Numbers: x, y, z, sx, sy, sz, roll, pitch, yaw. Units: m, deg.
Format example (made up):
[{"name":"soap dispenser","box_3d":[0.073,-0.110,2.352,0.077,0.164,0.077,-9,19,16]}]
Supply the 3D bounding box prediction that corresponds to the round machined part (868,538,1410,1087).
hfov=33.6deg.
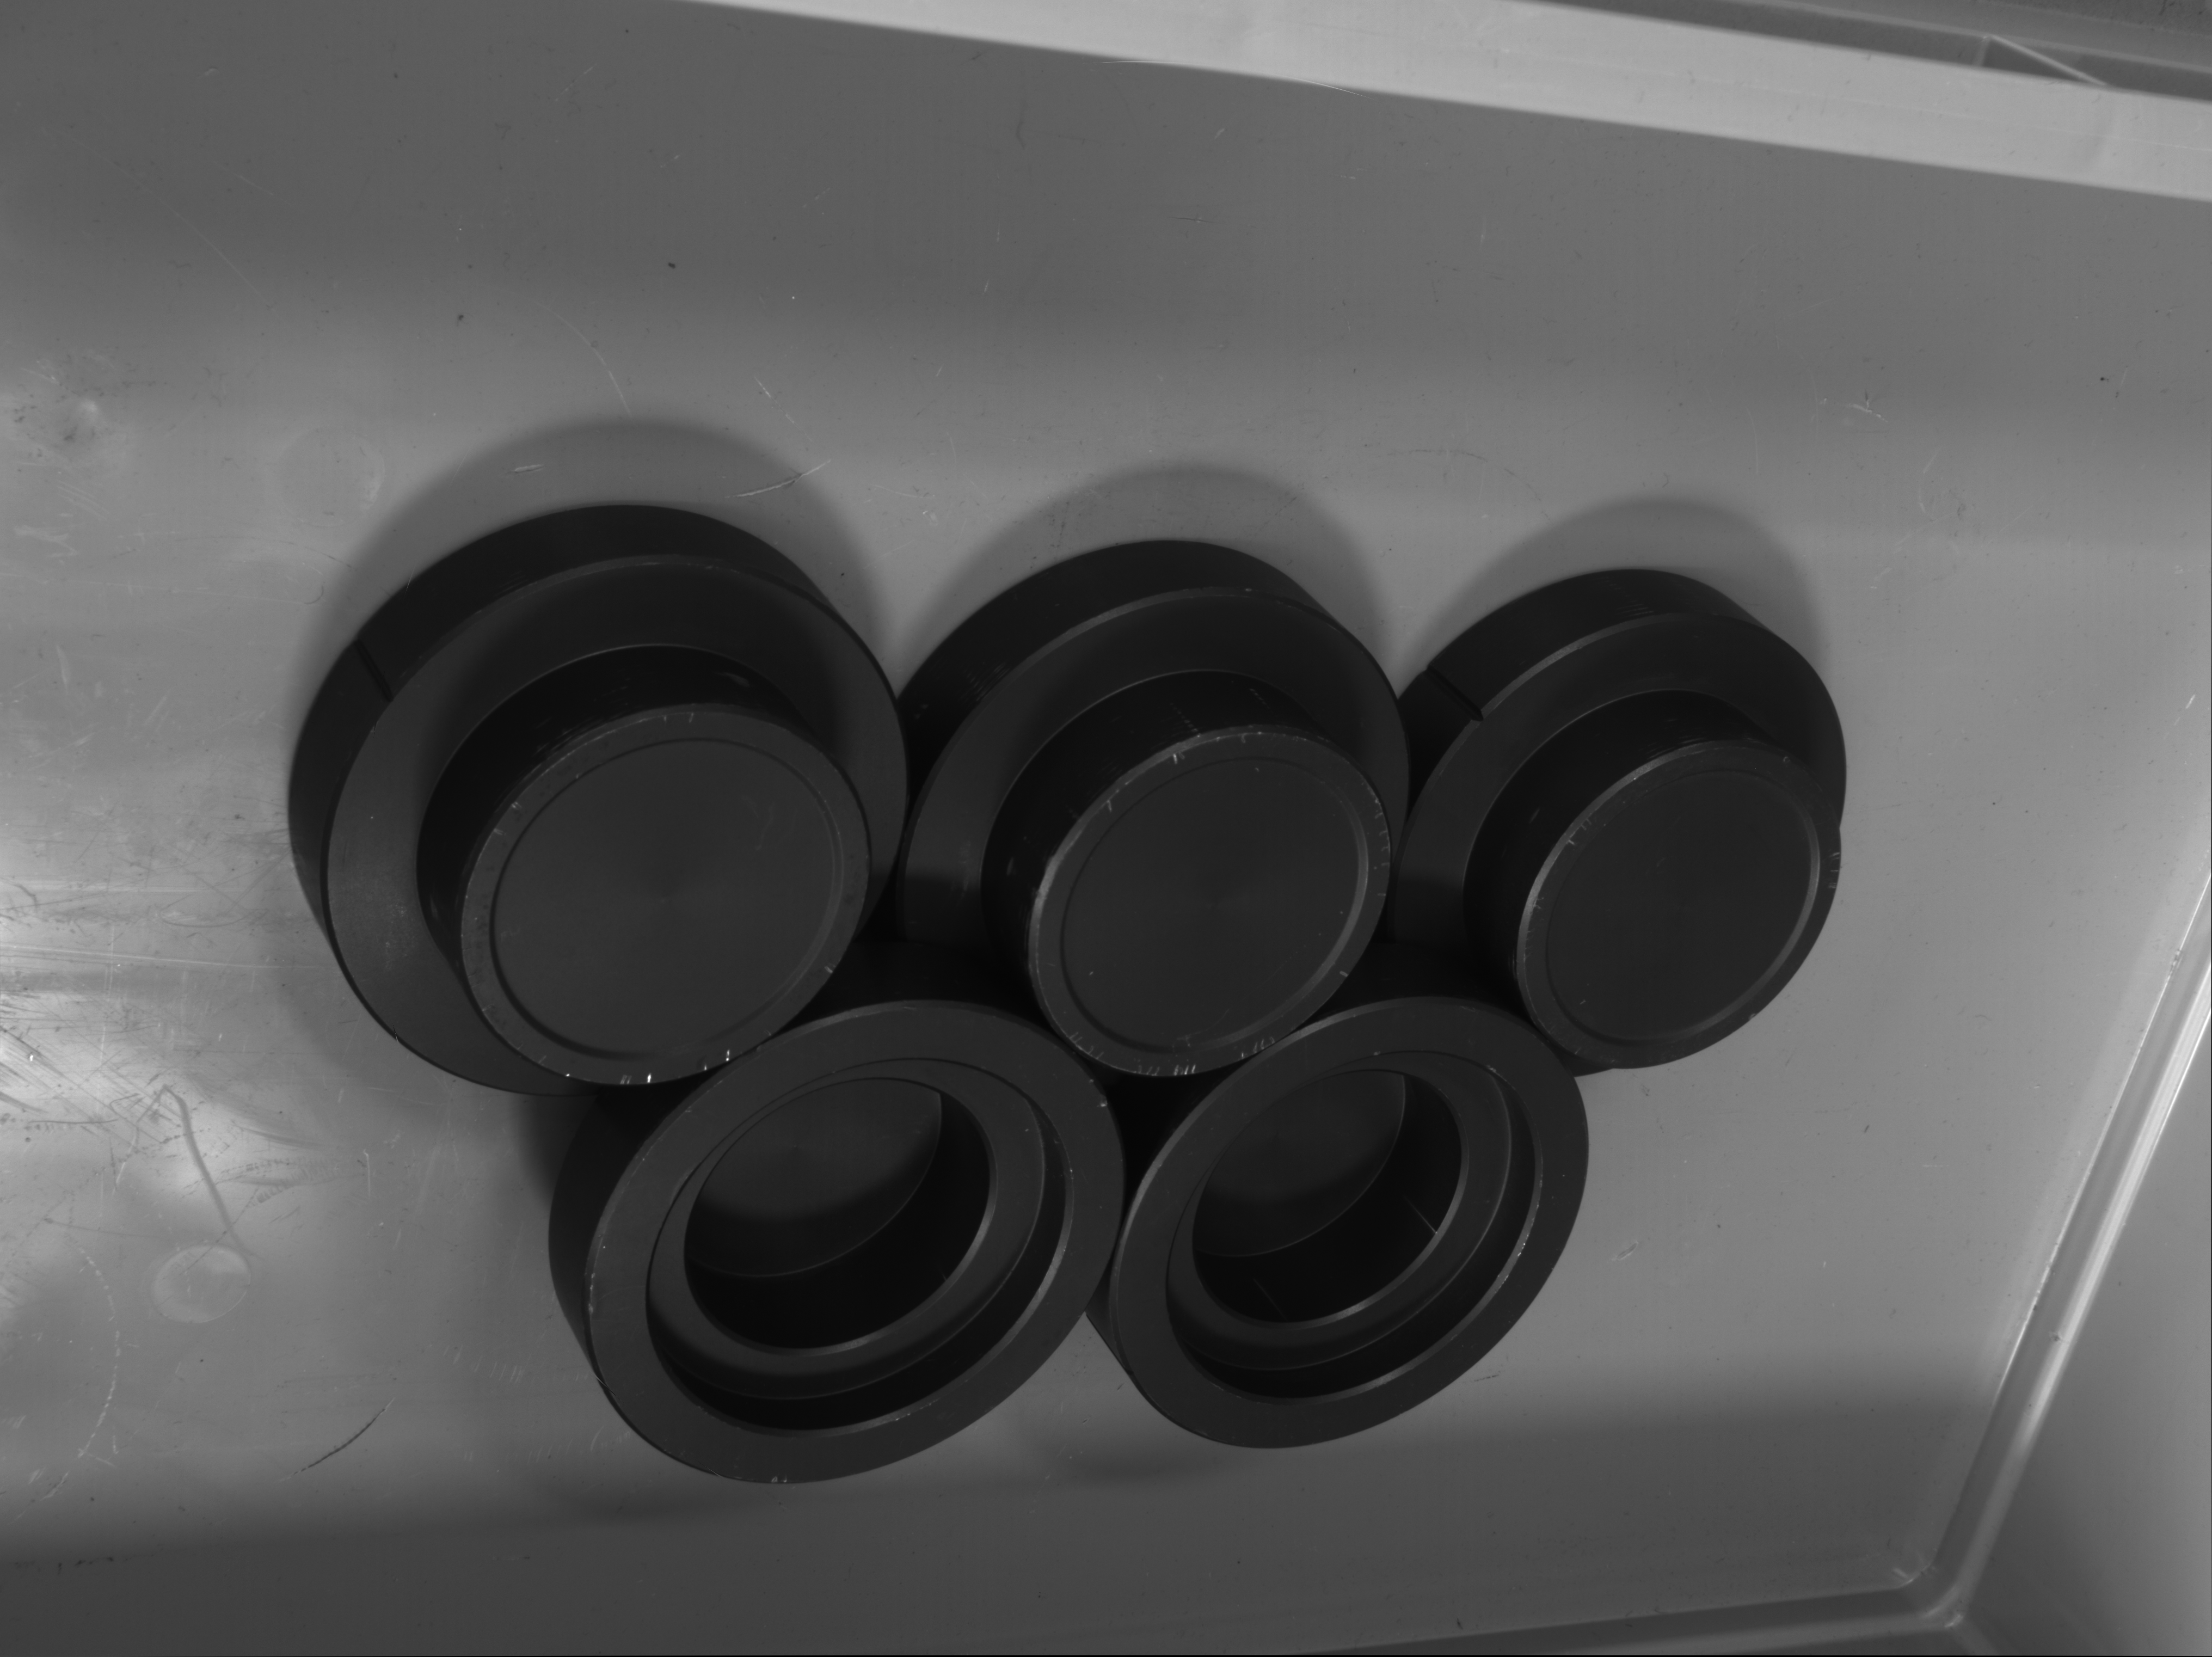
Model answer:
[{"name":"round machined part","box_3d":[0.010,0.003,0.631,0.098,0.042,0.098,-13,123,-21]}]

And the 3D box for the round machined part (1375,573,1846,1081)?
[{"name":"round machined part","box_3d":[0.096,0.006,0.679,0.098,0.042,0.098,-13,123,-21]}]

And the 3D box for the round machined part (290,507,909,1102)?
[{"name":"round machined part","box_3d":[-0.076,0.002,0.584,0.098,0.042,0.098,-14,123,-22]}]

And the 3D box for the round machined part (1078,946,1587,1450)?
[{"name":"round machined part","box_3d":[0.037,0.064,0.683,0.098,0.042,0.098,-14,124,-21]}]

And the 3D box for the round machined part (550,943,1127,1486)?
[{"name":"round machined part","box_3d":[-0.049,0.062,0.635,0.098,0.042,0.098,-14,124,-21]}]
